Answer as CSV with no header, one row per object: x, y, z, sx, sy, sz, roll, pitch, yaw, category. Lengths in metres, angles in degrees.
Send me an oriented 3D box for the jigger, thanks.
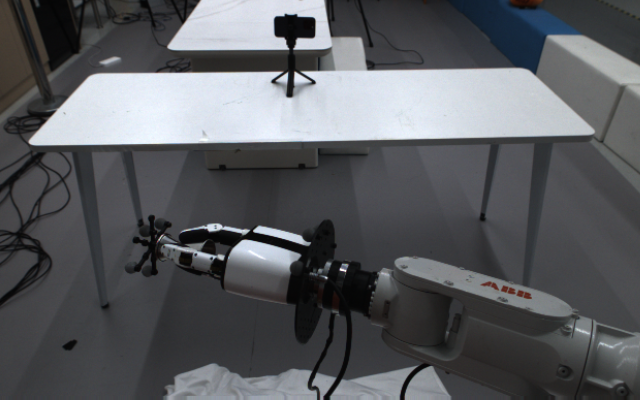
-0.177,0.066,0.656,0.071,0.043,0.043,7,35,15,jigger
